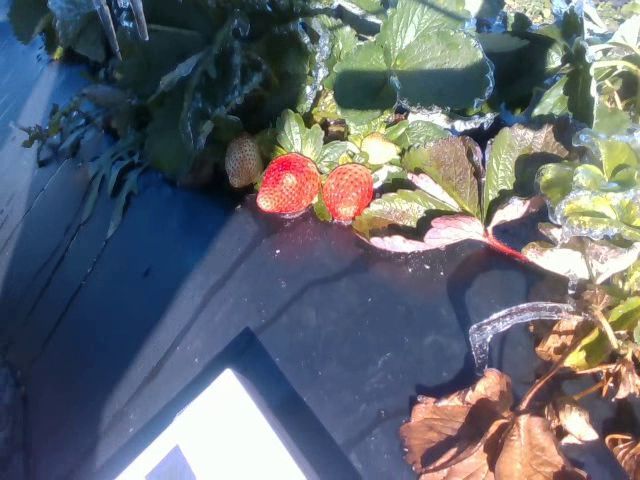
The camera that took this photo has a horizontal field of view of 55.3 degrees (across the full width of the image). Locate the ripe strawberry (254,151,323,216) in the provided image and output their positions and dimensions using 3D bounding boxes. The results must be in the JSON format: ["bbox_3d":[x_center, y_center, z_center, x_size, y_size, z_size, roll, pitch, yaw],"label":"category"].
[{"bbox_3d":[-0.022,-0.028,0.357,0.036,0.040,0.052,-1,25,27],"label":"ripe strawberry"}]

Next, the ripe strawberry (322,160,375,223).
[{"bbox_3d":[0.018,-0.027,0.357,0.036,0.041,0.030,-23,-41,15],"label":"ripe strawberry"}]
